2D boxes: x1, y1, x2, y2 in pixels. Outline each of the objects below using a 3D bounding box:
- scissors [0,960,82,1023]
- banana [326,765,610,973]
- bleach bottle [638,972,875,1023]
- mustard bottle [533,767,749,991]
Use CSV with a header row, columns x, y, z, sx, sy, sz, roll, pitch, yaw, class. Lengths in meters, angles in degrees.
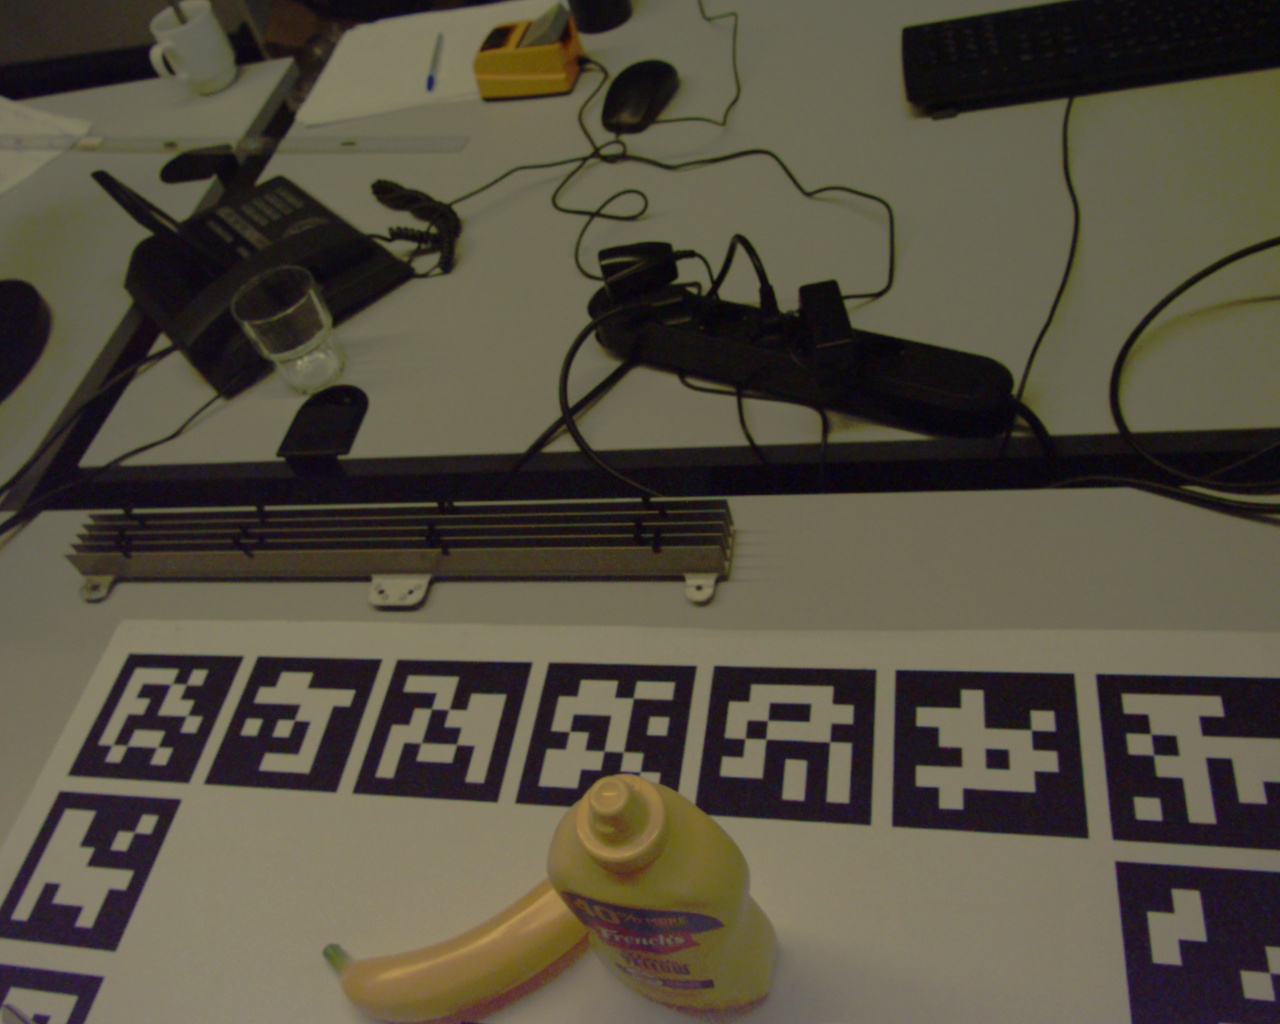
x,y,z,sx,sy,sz,roll,pitch,yaw,class
-0.270,0.276,0.562,0.205,0.016,0.087,23,65,27,scissors
-0.091,0.215,0.671,0.197,0.038,0.075,-31,32,-9,banana
0.069,0.260,0.430,0.103,0.248,0.068,-20,43,9,bleach bottle
-0.004,0.183,0.583,0.097,0.190,0.058,12,54,24,mustard bottle
